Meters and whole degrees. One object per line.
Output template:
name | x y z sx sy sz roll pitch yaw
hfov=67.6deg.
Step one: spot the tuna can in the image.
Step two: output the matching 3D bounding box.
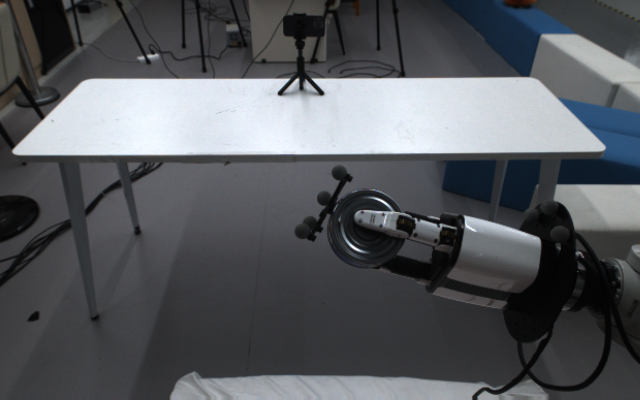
tuna can | 0.055 0.030 0.537 0.085 0.034 0.085 1 75 -5
